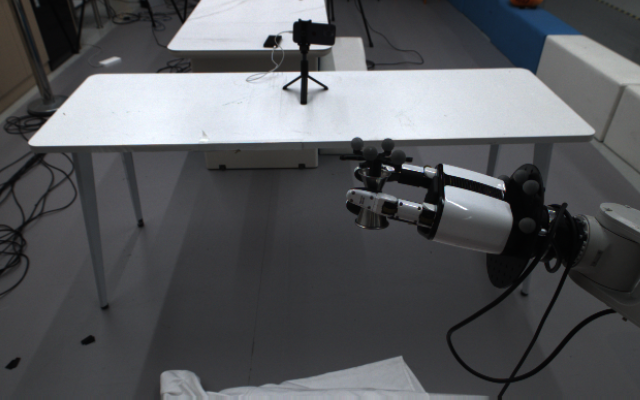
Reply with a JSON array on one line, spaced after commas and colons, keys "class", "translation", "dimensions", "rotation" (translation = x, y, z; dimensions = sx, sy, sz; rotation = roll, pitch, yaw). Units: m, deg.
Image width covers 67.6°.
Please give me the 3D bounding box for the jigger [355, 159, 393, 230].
[{"class": "jigger", "translation": [0.066, -0.004, 0.612], "dimensions": [0.043, 0.071, 0.043], "rotation": [1, 20, 0]}]
